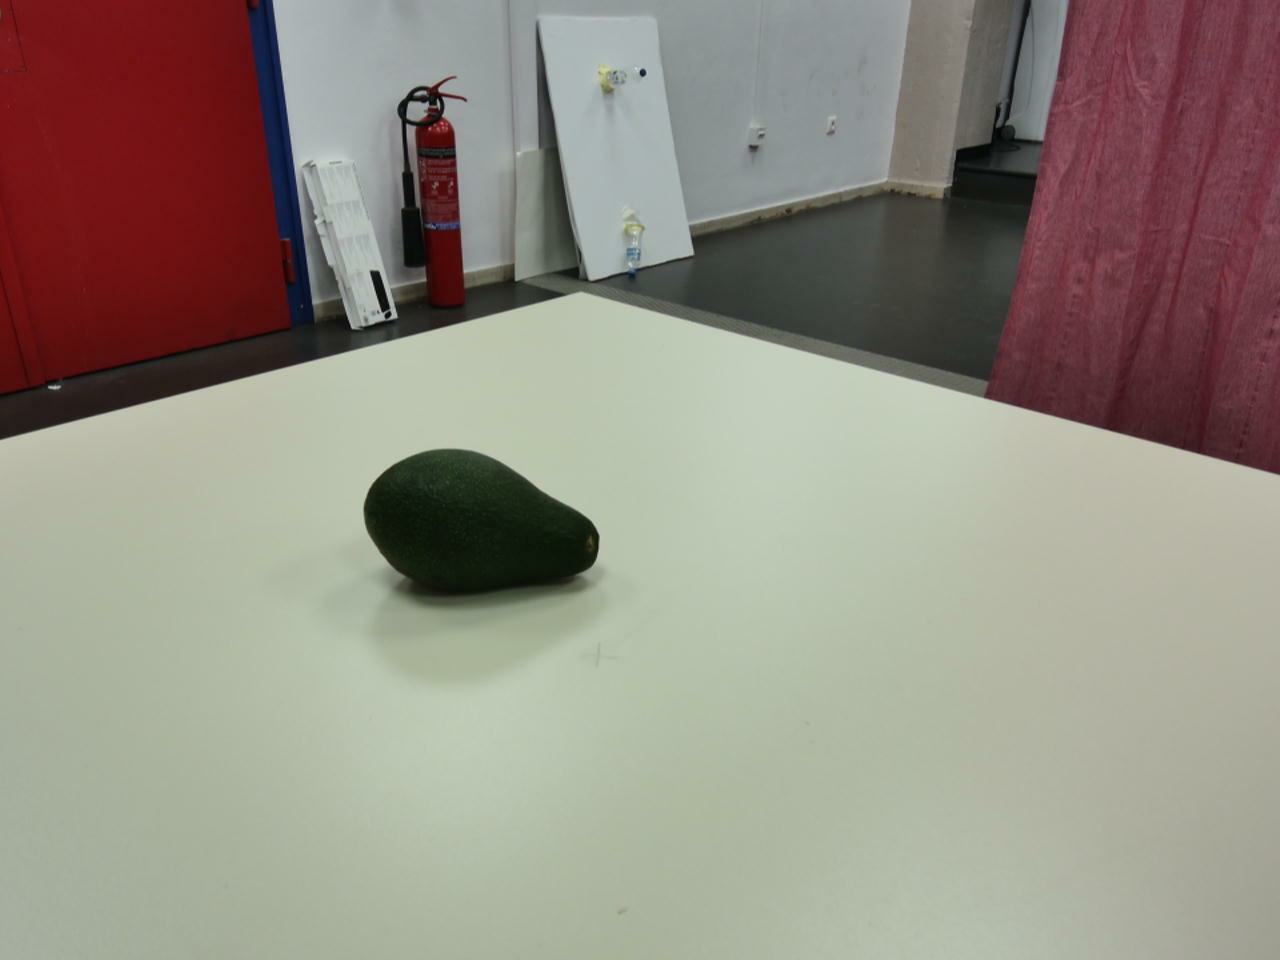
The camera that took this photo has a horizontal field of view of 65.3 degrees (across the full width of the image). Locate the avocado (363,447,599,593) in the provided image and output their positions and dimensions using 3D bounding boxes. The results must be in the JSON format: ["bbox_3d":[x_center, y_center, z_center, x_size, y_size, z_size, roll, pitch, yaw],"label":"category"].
[{"bbox_3d":[-0.081,0.020,0.499,0.110,0.071,0.072,8,25,16],"label":"avocado"}]
